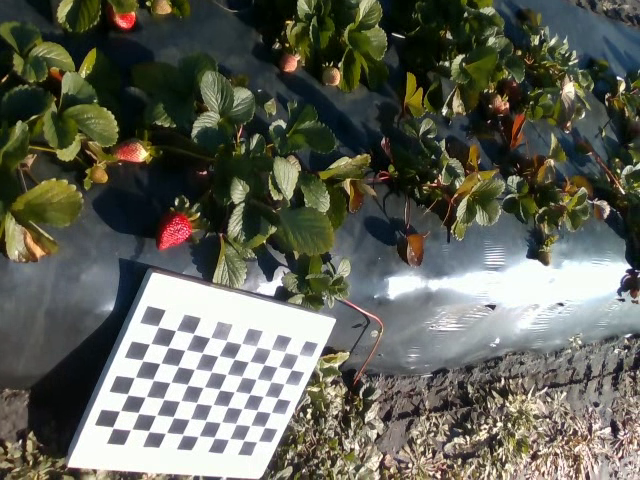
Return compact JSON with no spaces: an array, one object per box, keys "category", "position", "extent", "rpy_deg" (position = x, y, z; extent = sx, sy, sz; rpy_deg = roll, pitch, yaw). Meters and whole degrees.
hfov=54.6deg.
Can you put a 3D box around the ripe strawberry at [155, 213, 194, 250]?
[{"category":"ripe strawberry","position":[-0.182,-0.009,0.718],"extent":[0.058,0.066,0.062],"rpy_deg":[-15,32,8]}]
